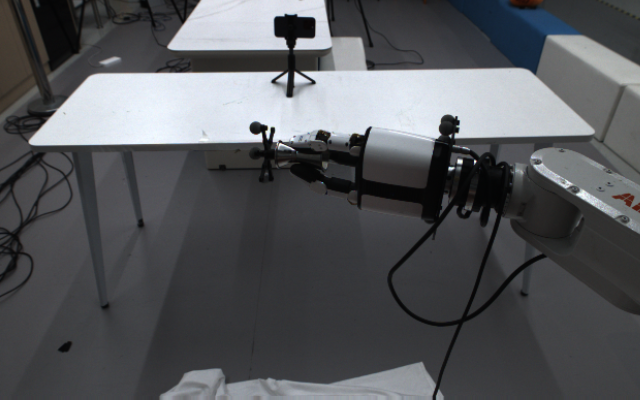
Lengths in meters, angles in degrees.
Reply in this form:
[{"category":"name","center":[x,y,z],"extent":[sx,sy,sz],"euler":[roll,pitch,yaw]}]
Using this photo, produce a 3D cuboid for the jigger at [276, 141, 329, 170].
[{"category":"jigger","center":[-0.018,-0.066,0.675],"extent":[0.071,0.043,0.043],"euler":[3,34,12]}]
